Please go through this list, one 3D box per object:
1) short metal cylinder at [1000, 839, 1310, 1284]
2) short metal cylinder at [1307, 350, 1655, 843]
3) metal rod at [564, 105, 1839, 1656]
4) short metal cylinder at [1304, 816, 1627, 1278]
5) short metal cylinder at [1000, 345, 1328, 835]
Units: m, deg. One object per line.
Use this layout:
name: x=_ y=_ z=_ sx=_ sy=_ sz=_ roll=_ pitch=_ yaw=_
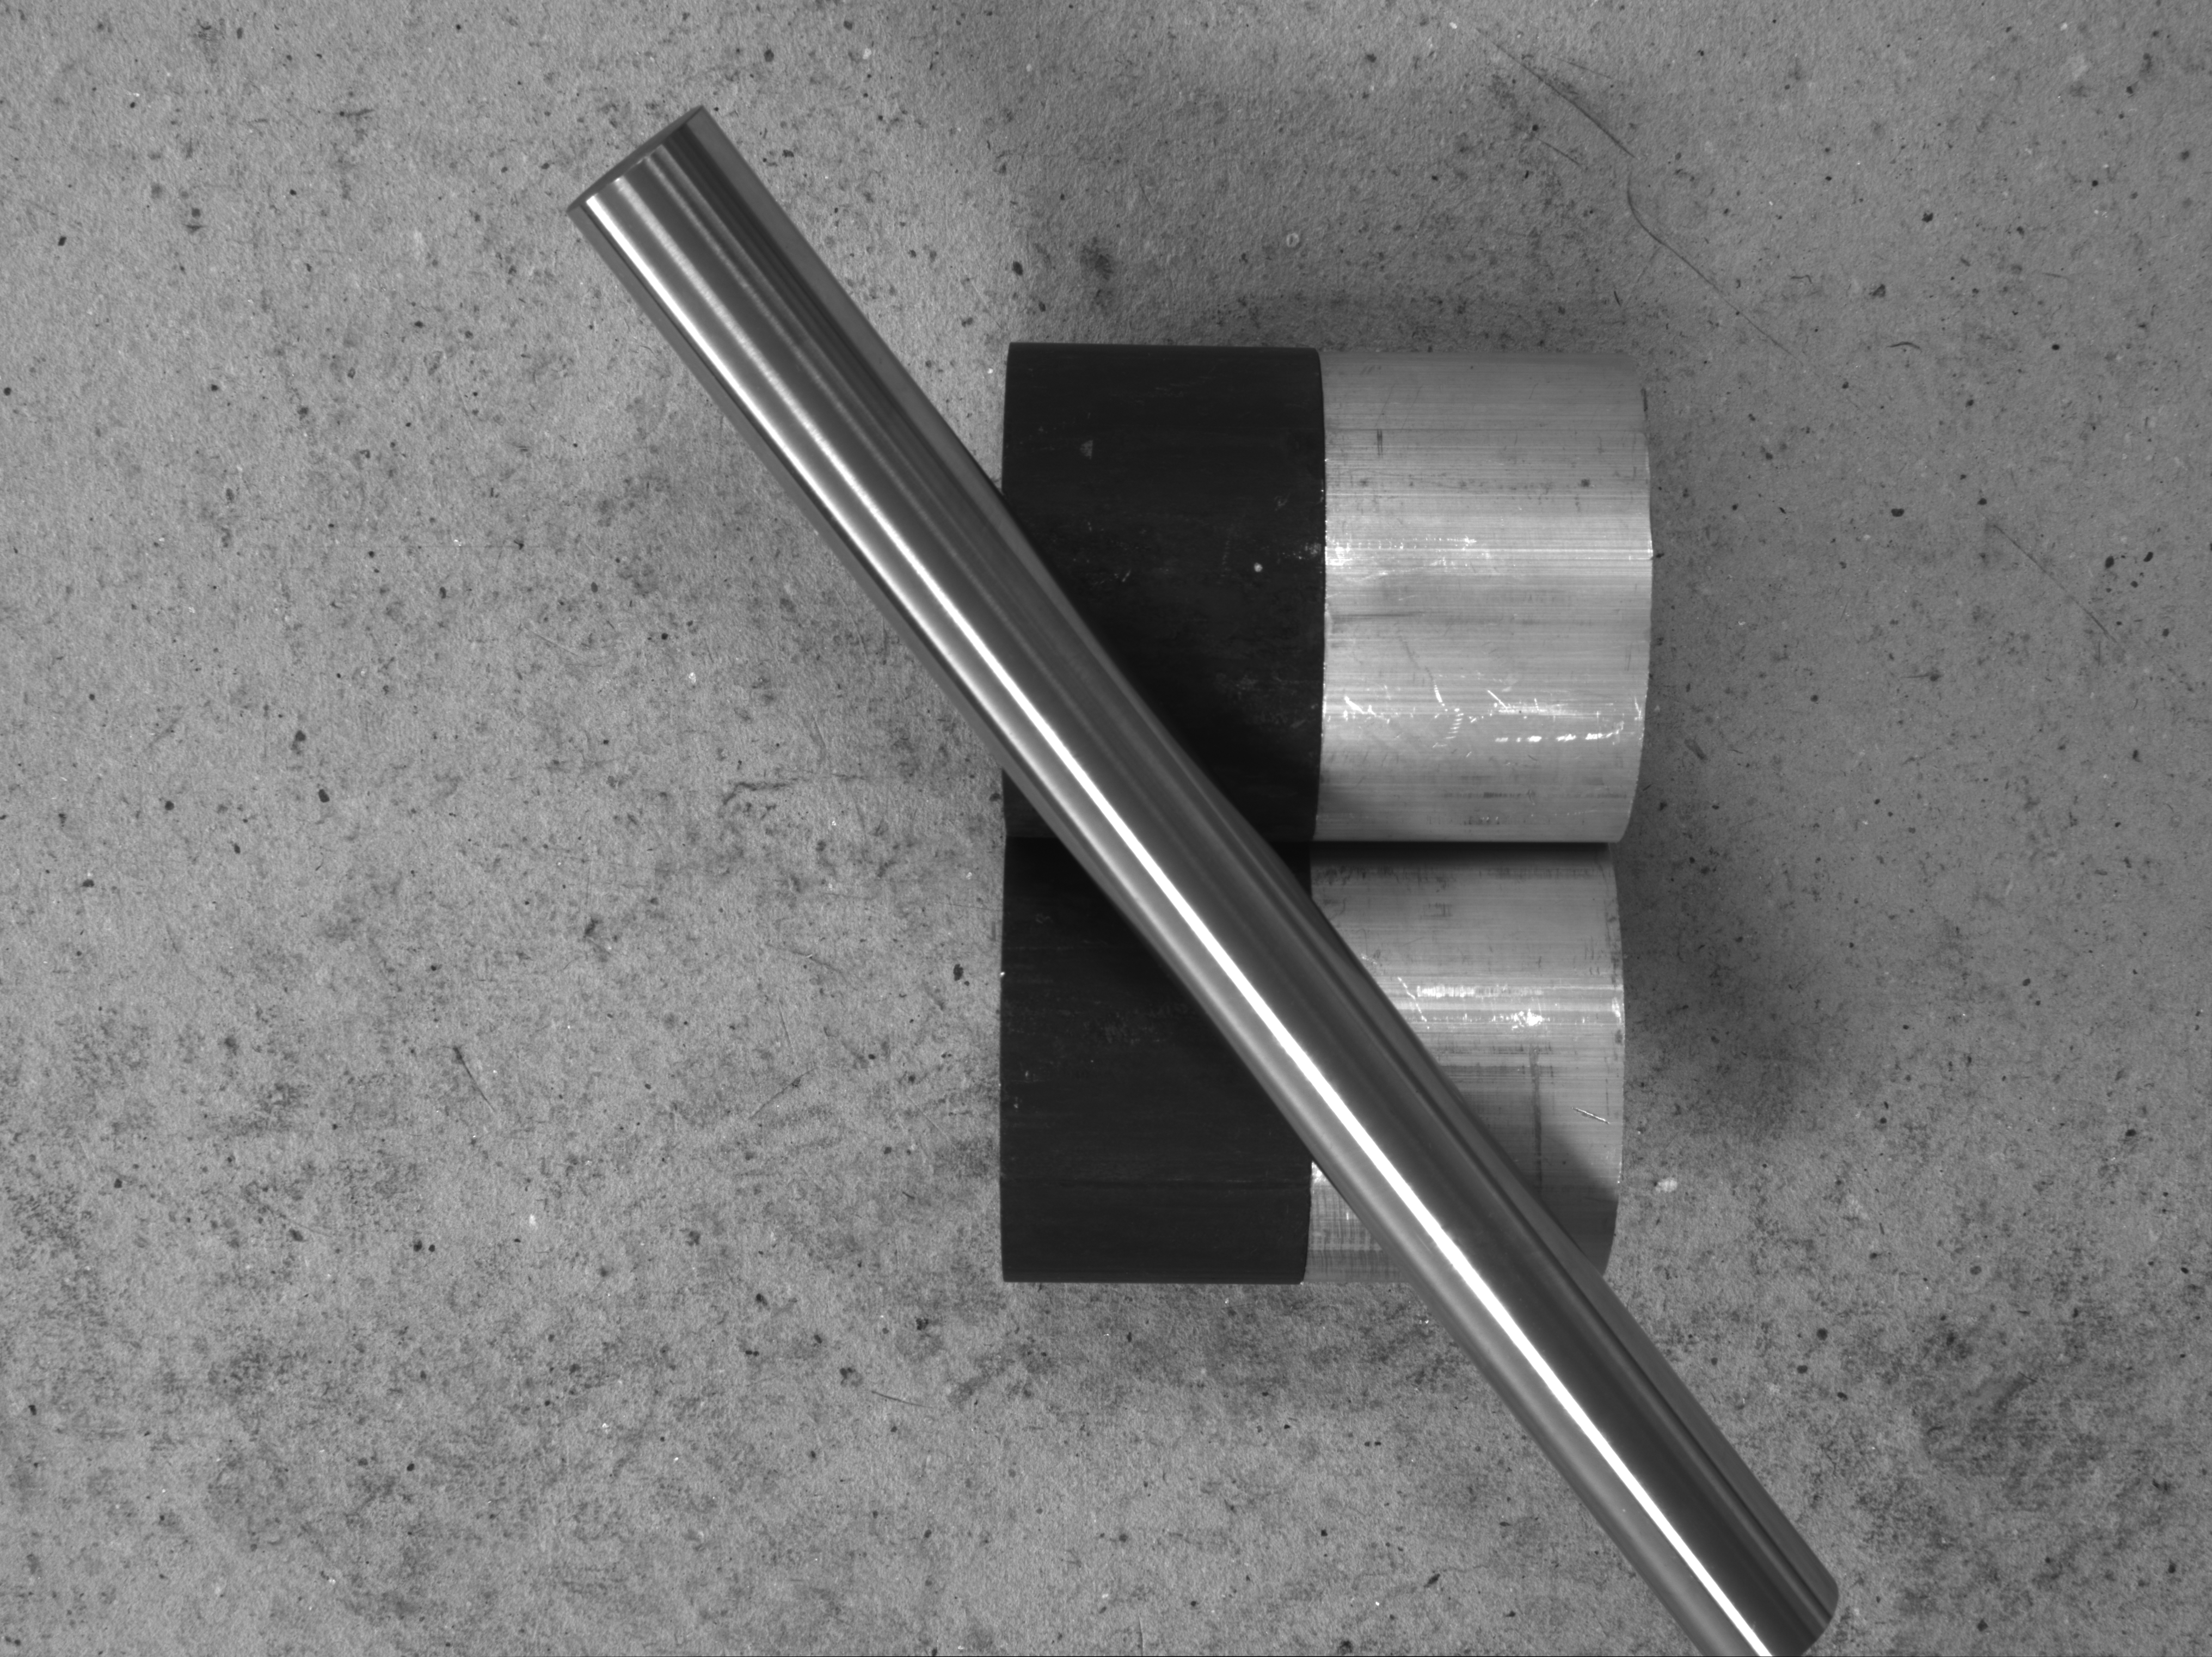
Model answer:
short metal cylinder: x=0.008 y=0.037 z=0.629 sx=0.050 sy=0.080 sz=0.080 roll=1 pitch=110 yaw=0
short metal cylinder: x=0.059 y=-0.038 z=0.602 sx=0.050 sy=0.080 sz=0.080 roll=1 pitch=110 yaw=0
metal rod: x=0.022 y=0.018 z=0.566 sx=0.025 sy=0.025 sz=0.300 roll=-35 pitch=107 yaw=12
short metal cylinder: x=0.059 y=0.037 z=0.629 sx=0.050 sy=0.080 sz=0.080 roll=1 pitch=110 yaw=0
short metal cylinder: x=0.009 y=-0.039 z=0.601 sx=0.050 sy=0.080 sz=0.080 roll=1 pitch=110 yaw=0
